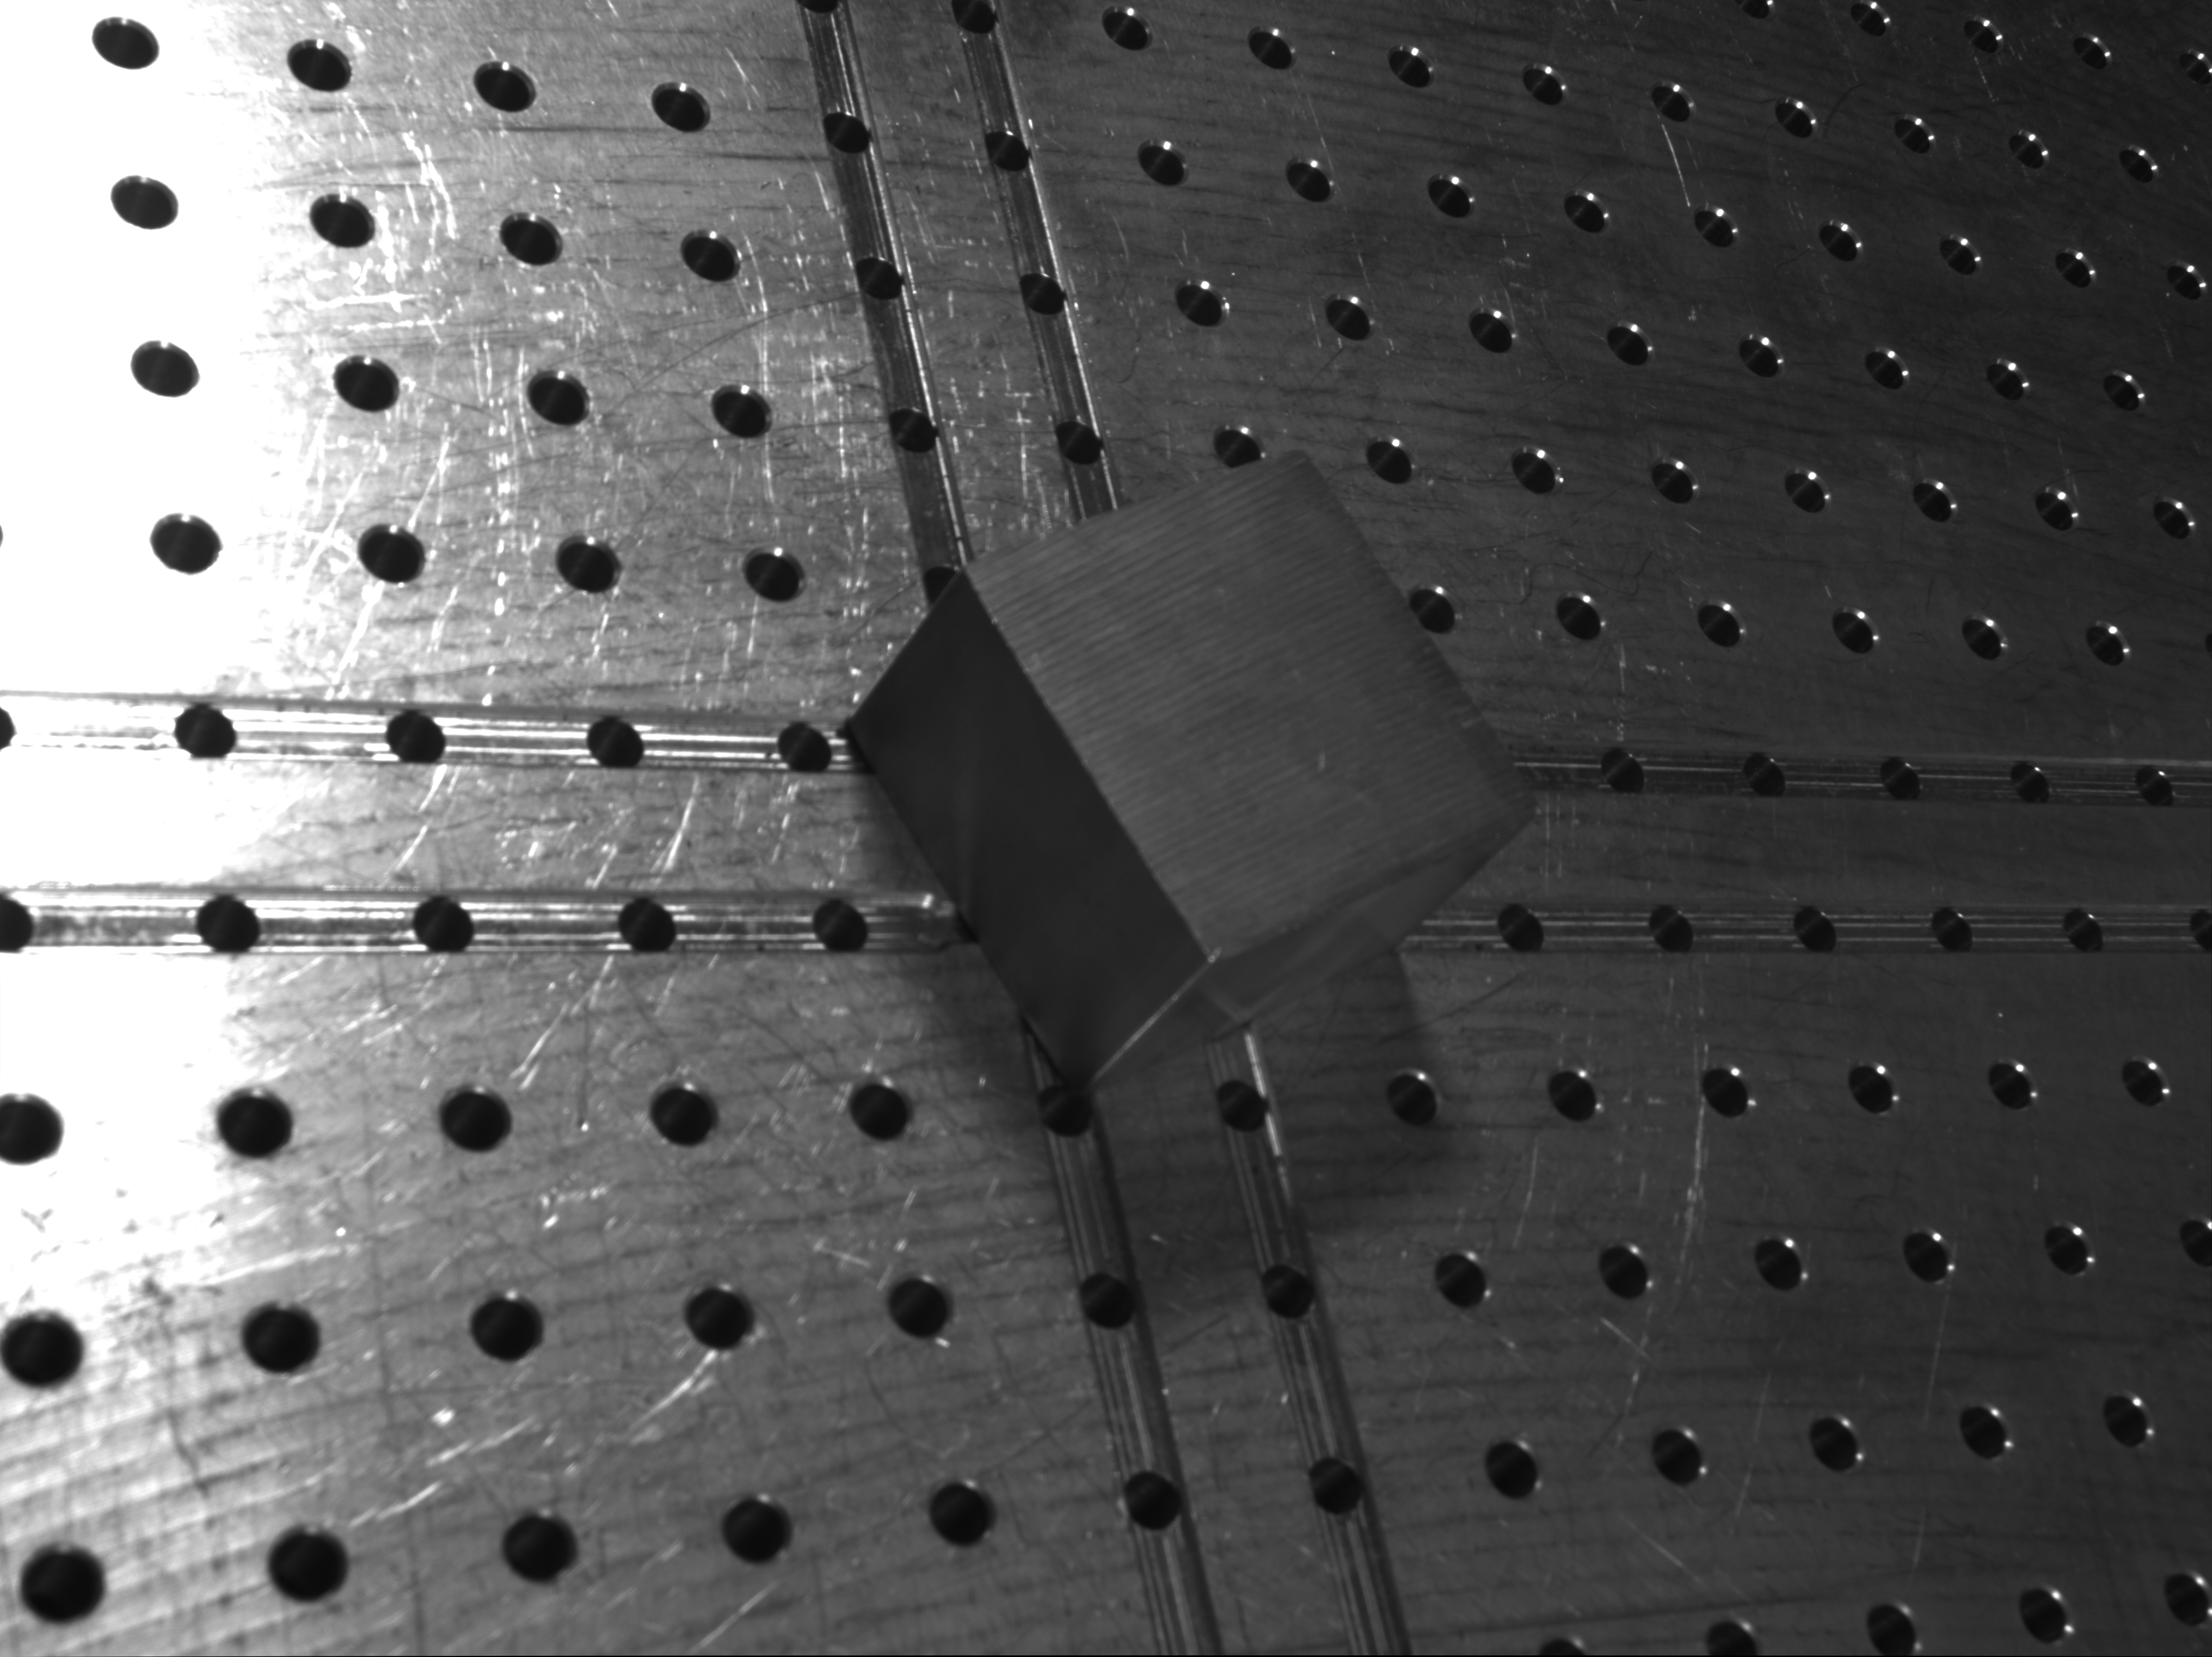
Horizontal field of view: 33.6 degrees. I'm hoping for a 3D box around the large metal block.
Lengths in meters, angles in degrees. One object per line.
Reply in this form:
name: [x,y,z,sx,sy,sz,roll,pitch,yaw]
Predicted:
large metal block: [0.018,-0.011,0.640,0.080,0.050,0.080,-23,74,-36]
